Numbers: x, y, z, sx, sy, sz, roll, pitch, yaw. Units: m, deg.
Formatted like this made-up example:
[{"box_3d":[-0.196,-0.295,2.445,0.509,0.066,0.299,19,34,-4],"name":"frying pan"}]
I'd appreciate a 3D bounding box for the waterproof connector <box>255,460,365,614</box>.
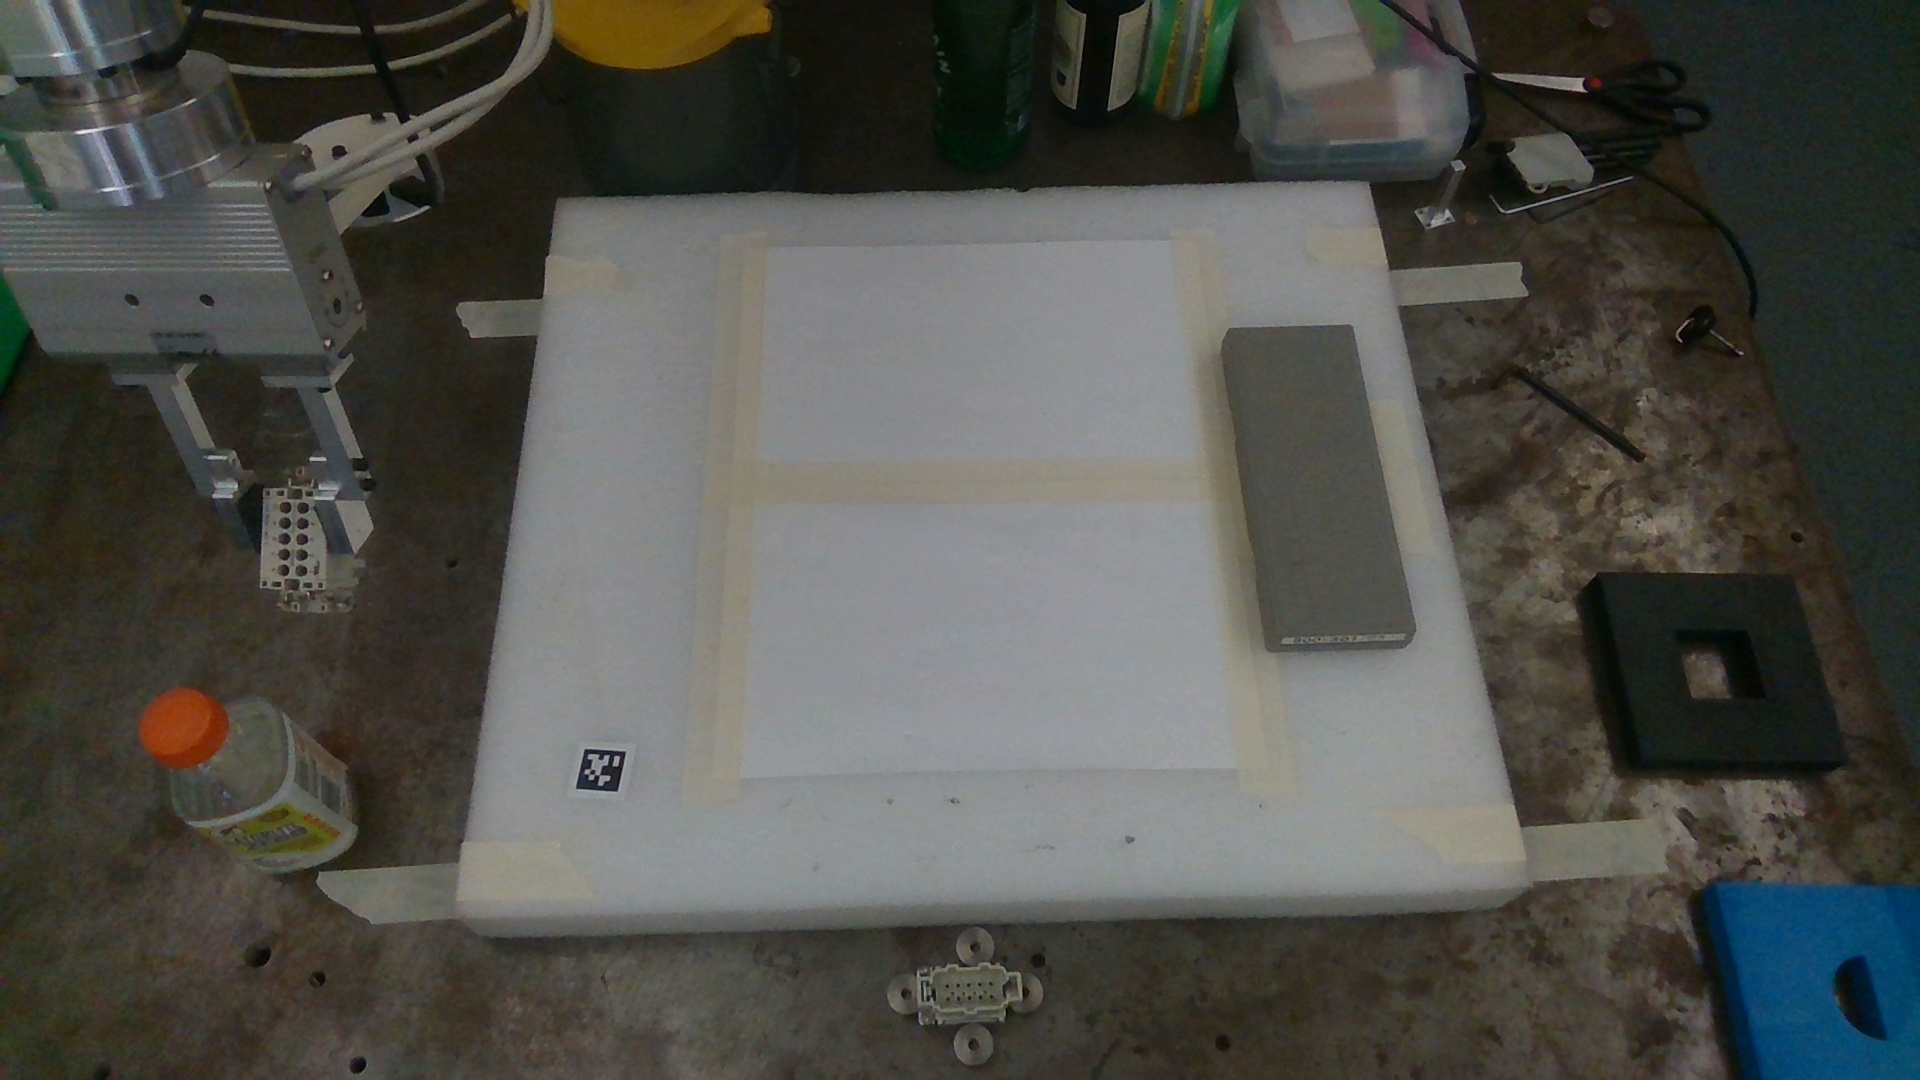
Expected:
[{"box_3d":[-0.292,-0.002,0.627,0.037,0.038,0.069,2,87,5],"name":"waterproof connector"}]
